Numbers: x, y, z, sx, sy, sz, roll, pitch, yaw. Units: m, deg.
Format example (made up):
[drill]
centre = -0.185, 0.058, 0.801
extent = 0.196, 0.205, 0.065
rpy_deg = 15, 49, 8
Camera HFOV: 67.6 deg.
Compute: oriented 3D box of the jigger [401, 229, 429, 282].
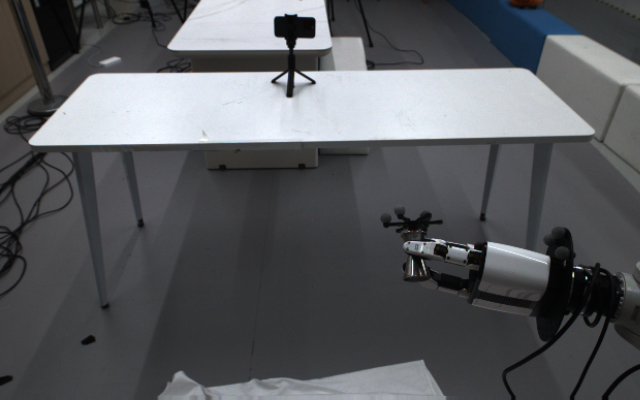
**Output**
[jigger]
centre = 0.140, 0.080, 0.711
extent = 0.043, 0.043, 0.071
rpy_deg = 1, 70, -2
